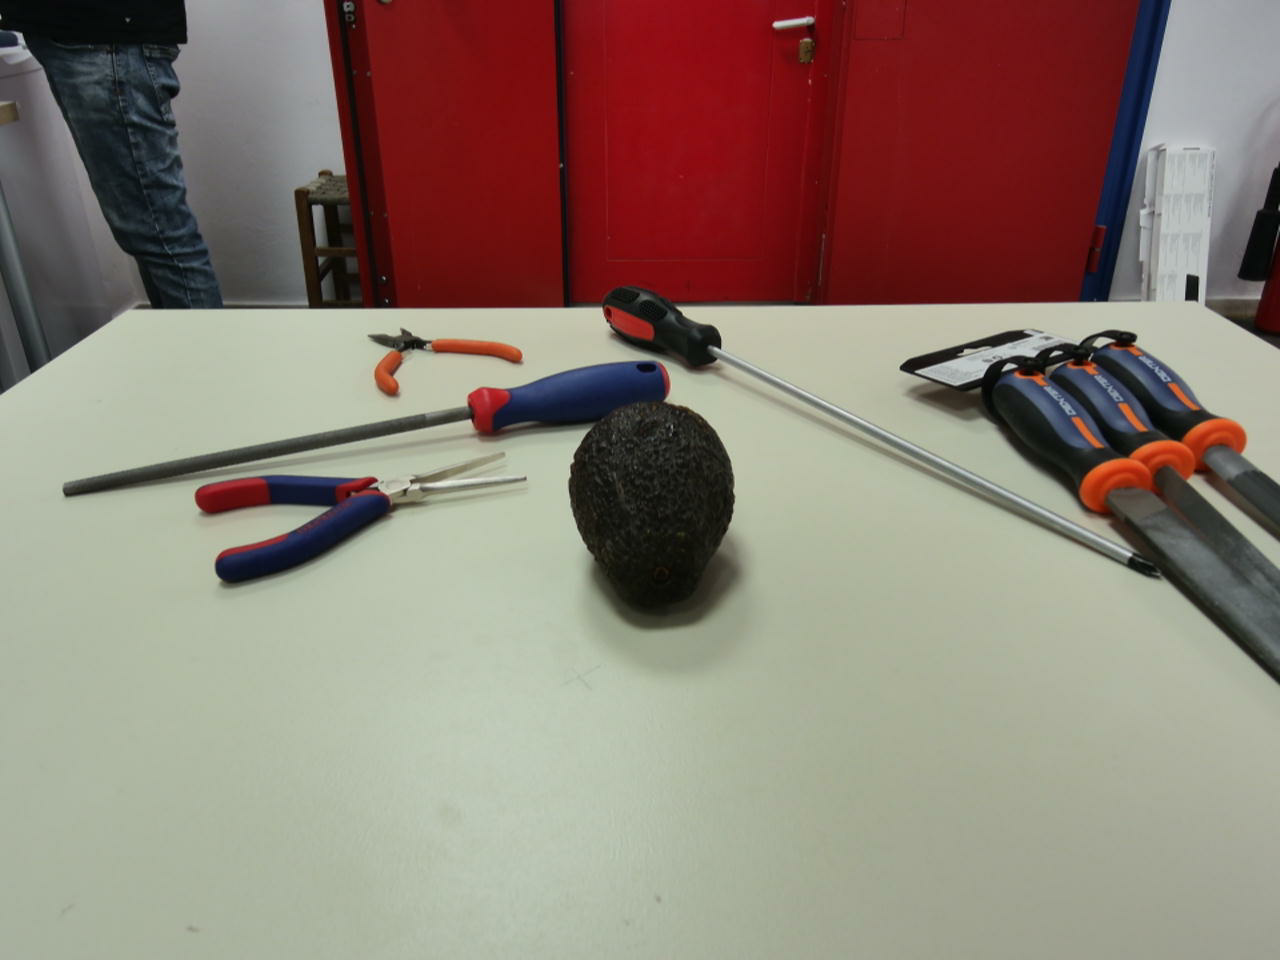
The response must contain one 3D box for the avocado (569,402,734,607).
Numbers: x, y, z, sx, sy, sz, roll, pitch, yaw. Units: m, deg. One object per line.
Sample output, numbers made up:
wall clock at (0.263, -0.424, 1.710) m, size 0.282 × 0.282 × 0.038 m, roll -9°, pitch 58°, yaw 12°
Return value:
avocado at (0.003, 0.005, 0.414) m, size 0.070 × 0.069 × 0.090 m, roll 11°, pitch 26°, yaw 23°
